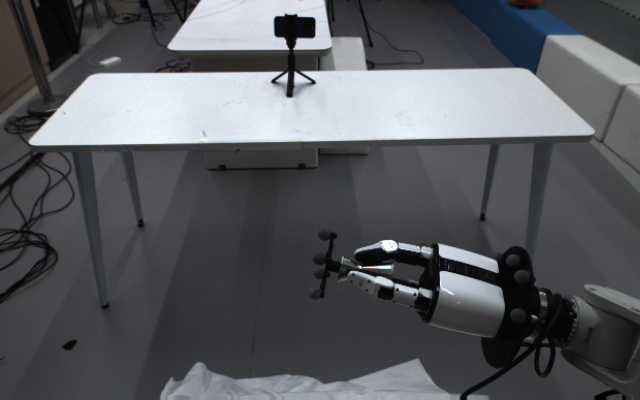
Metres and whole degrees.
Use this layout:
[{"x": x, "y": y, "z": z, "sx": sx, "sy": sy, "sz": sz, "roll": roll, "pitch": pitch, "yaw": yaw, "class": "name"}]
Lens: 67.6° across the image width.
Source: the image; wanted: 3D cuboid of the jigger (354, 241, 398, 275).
[{"x": 0.067, "y": 0.093, "z": 0.642, "sx": 0.071, "sy": 0.043, "sz": 0.043, "roll": 10, "pitch": 35, "yaw": 3, "class": "jigger"}]
